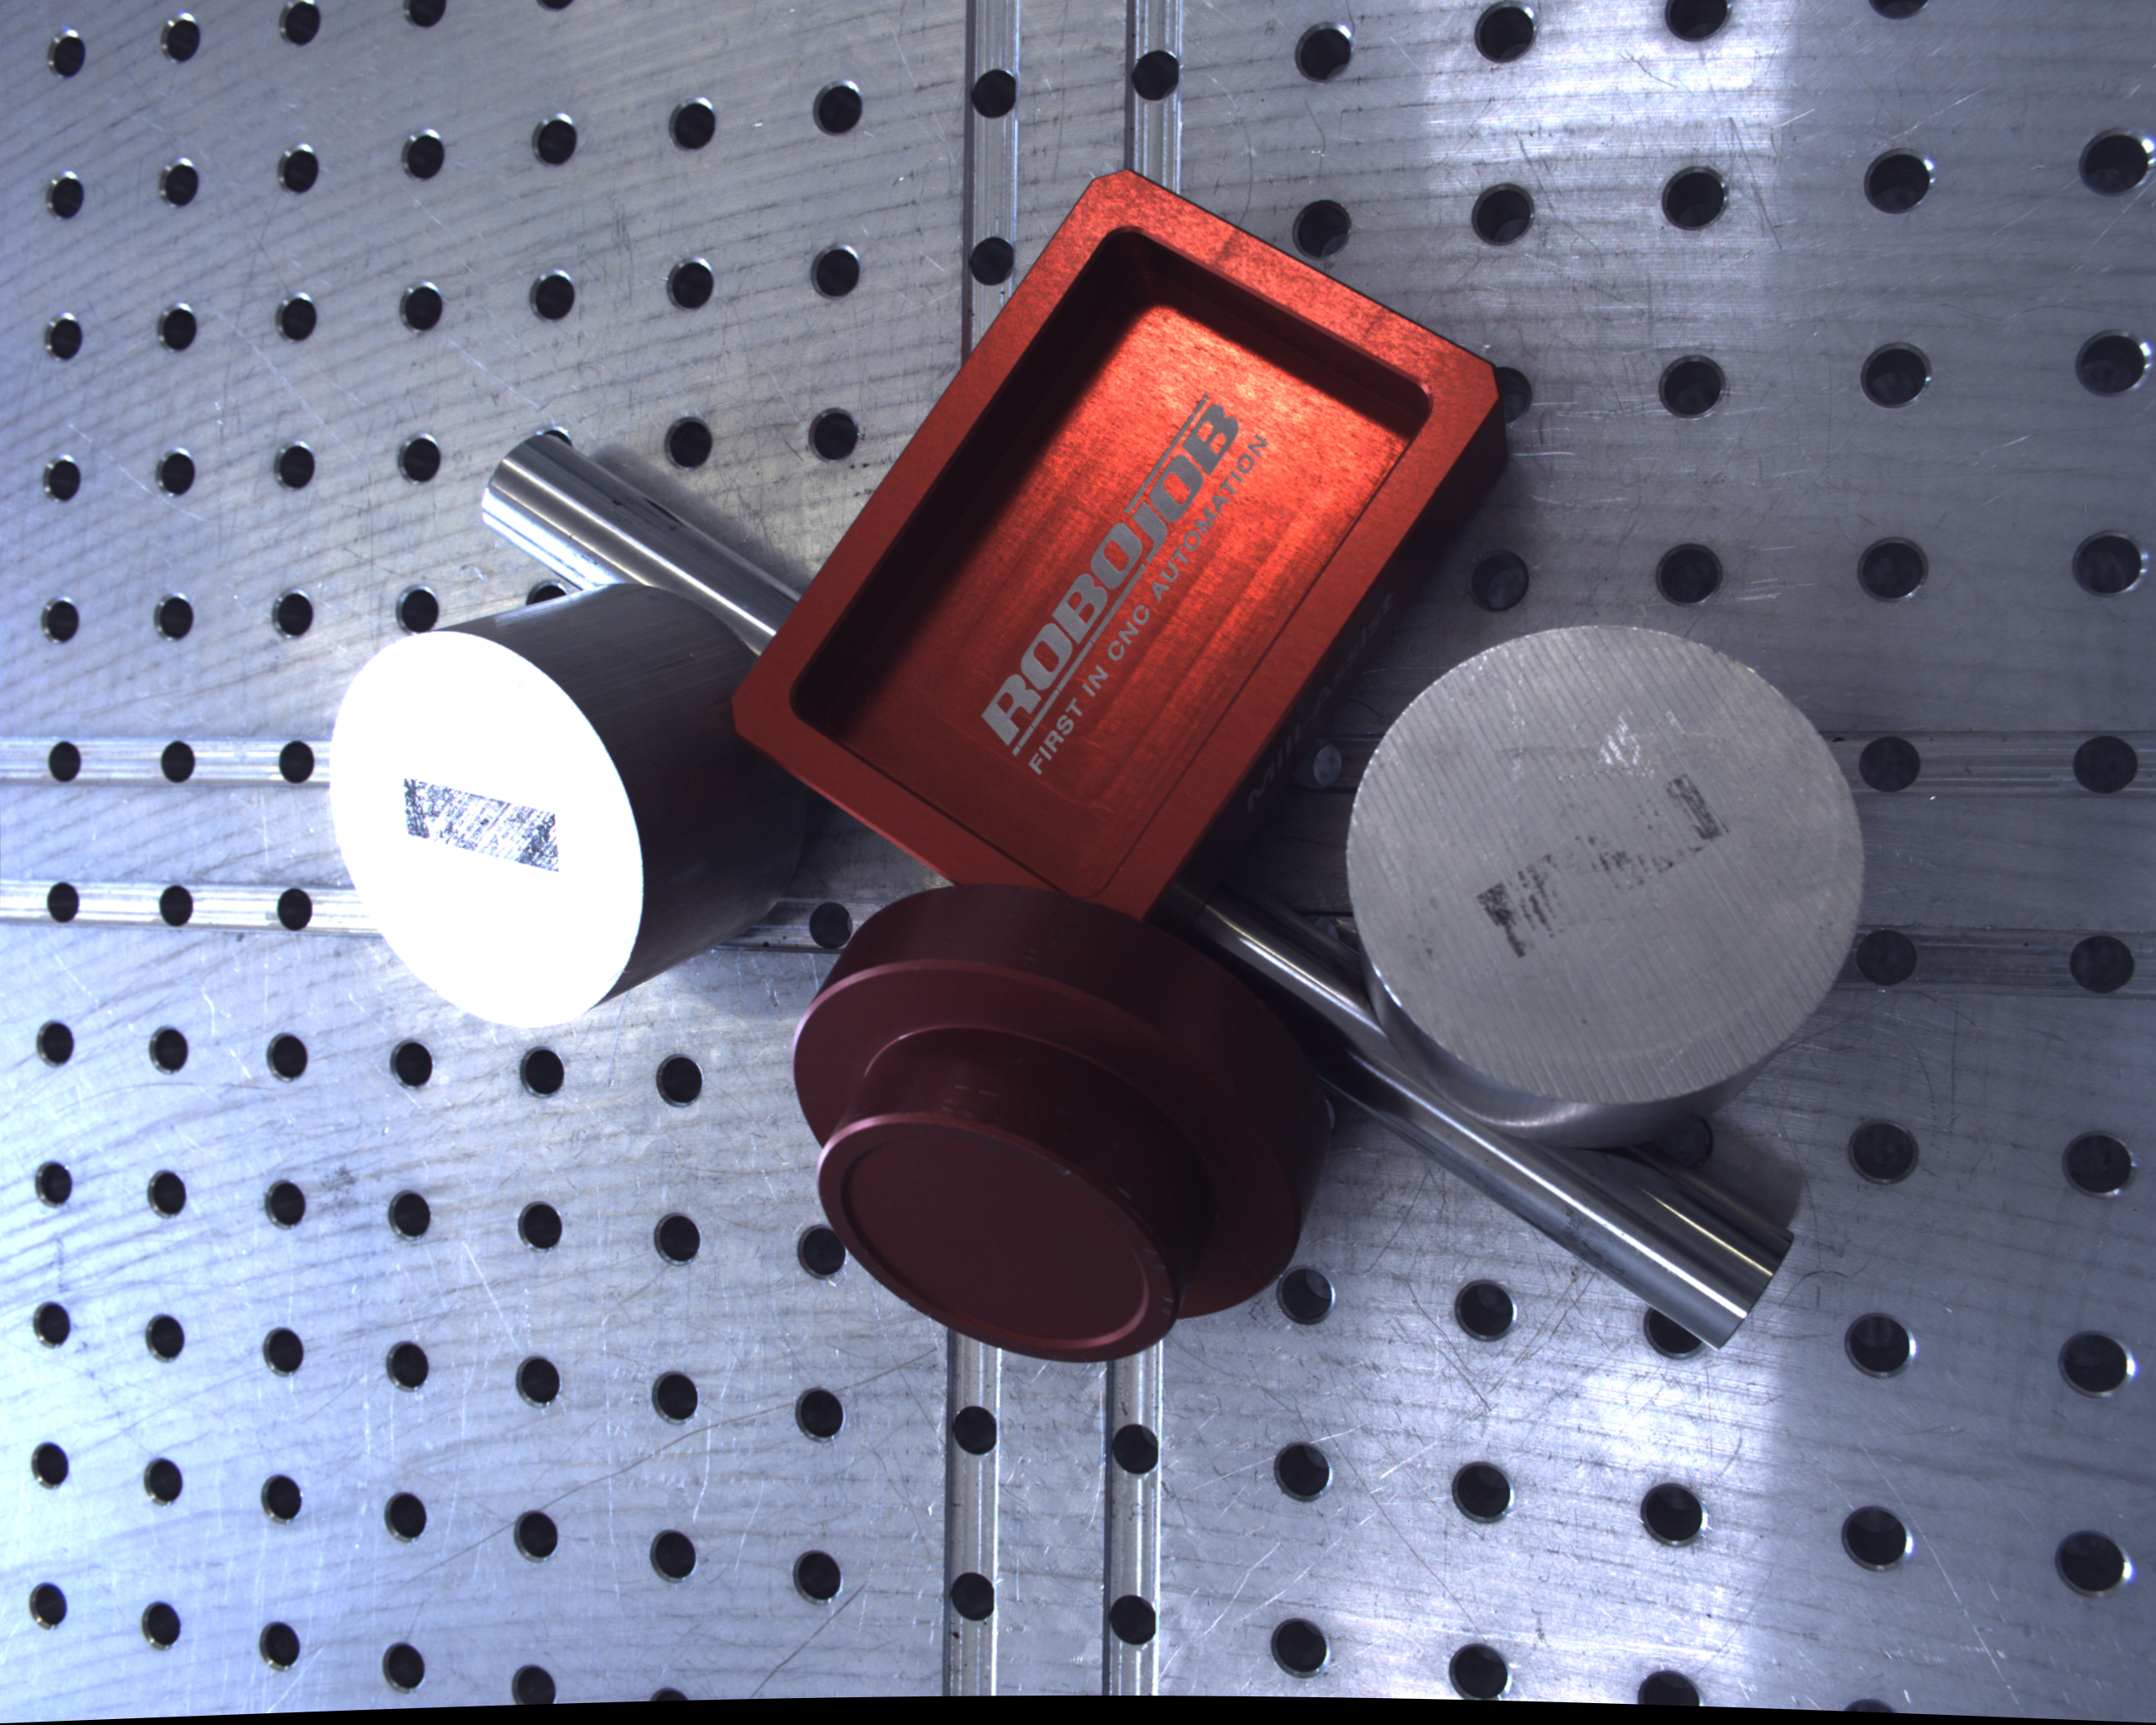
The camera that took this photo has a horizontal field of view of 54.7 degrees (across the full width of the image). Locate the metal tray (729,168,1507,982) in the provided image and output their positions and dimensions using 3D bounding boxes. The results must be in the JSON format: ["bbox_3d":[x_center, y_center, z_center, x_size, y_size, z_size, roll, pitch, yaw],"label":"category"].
[{"bbox_3d":[0.008,-0.054,0.391,0.090,0.030,0.130,34,87,17],"label":"metal tray"}]

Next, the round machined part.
[{"bbox_3d":[-0.008,0.054,0.377,0.098,0.042,0.097,14,138,14],"label":"round machined part"}]

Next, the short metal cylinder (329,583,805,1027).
[{"bbox_3d":[-0.103,-0.013,0.423,0.080,0.050,0.079,10,111,27],"label":"short metal cylinder"}]

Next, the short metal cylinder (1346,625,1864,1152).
[{"bbox_3d":[0.087,0.006,0.356,0.080,0.050,0.080,-2,73,8],"label":"short metal cylinder"}]

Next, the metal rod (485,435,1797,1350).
[{"bbox_3d":[0.000,-0.003,0.413,0.300,0.025,0.025,33,101,17],"label":"metal rod"}]
